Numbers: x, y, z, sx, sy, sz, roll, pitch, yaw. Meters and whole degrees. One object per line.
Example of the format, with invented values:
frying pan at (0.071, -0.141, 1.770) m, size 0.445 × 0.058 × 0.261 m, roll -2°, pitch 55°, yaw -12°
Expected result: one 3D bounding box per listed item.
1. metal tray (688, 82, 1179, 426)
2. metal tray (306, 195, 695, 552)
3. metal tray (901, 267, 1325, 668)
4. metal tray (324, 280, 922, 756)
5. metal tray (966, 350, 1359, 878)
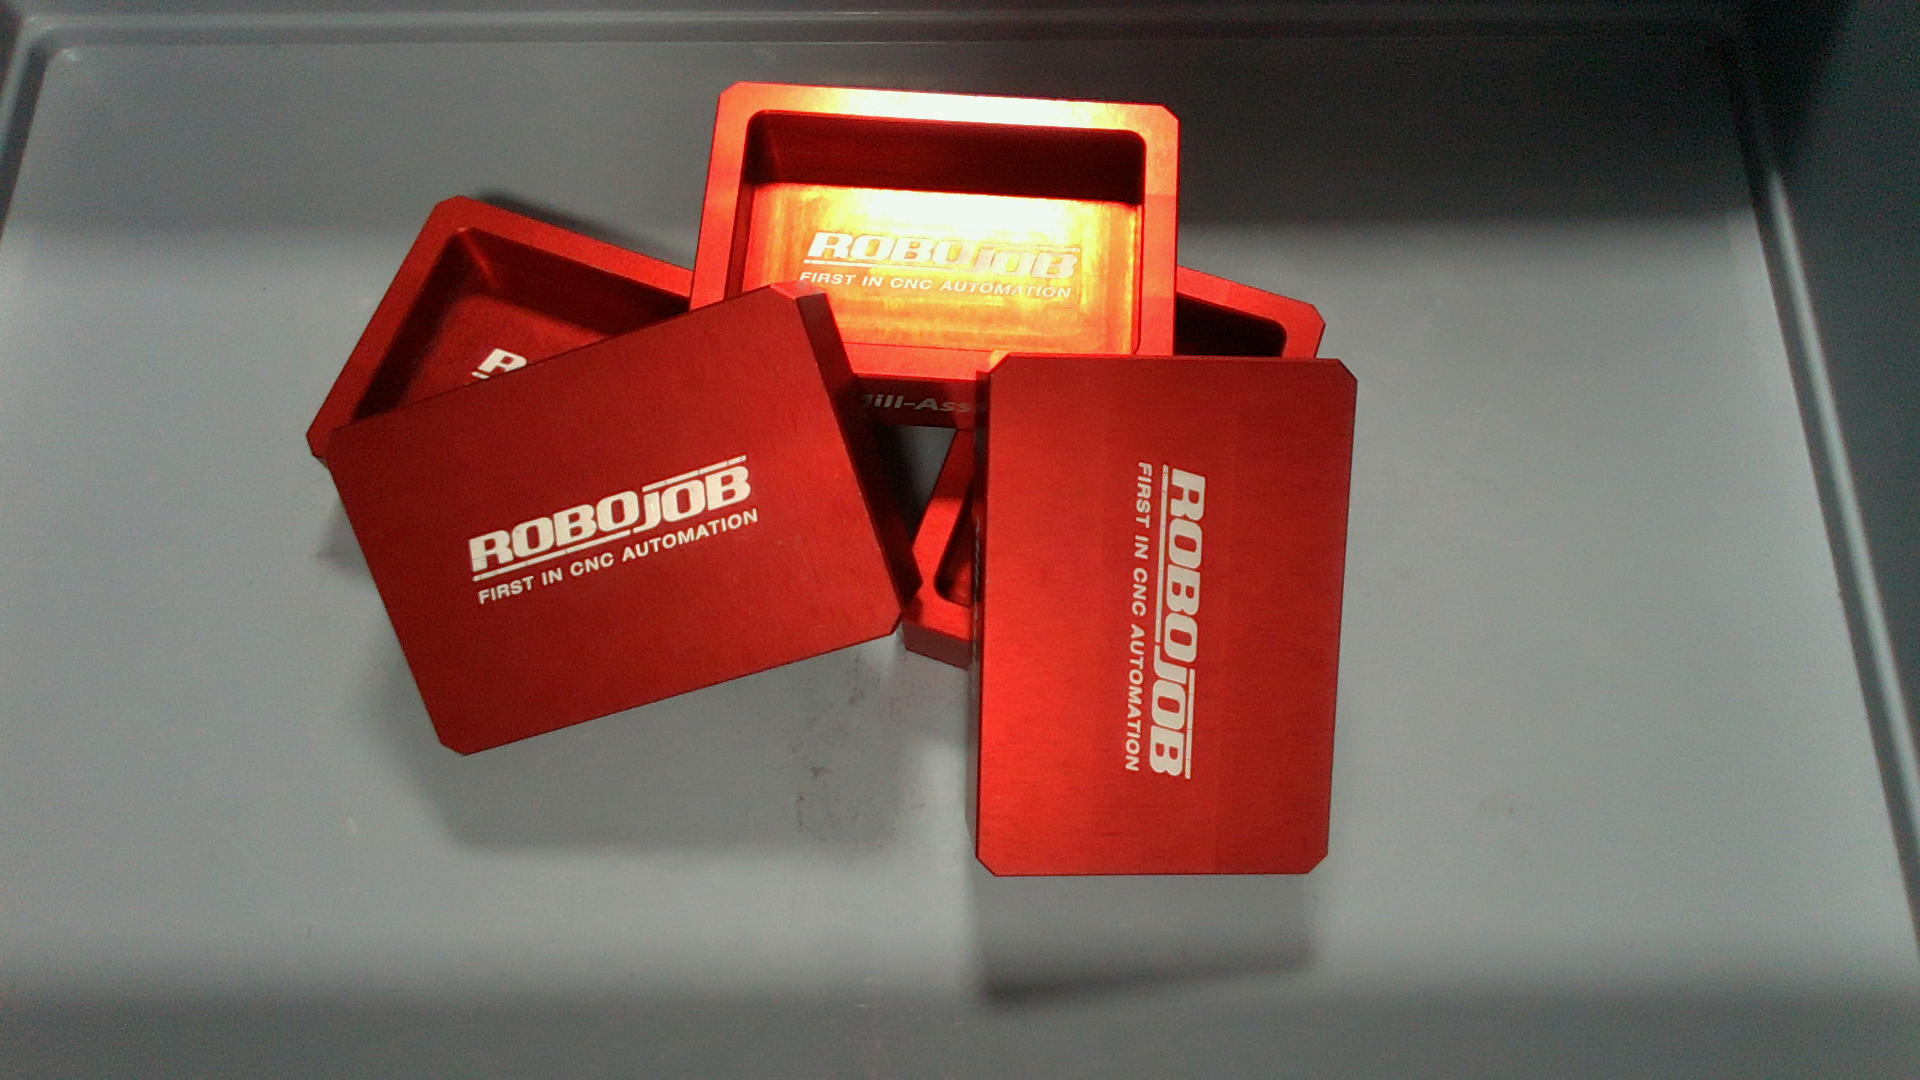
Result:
metal tray at (-0.006, -0.080, 0.387) m, size 0.130 × 0.030 × 0.090 m, roll 3°, pitch 70°, yaw 1°
metal tray at (-0.108, -0.040, 0.403) m, size 0.130 × 0.030 × 0.090 m, roll 19°, pitch 71°, yaw 7°
metal tray at (0.044, -0.019, 0.397) m, size 0.090 × 0.030 × 0.130 m, roll 18°, pitch 71°, yaw 6°
metal tray at (-0.085, -0.005, 0.356) m, size 0.130 × 0.030 × 0.090 m, roll -16°, pitch 100°, yaw 11°
metal tray at (0.049, 0.018, 0.350) m, size 0.090 × 0.030 × 0.130 m, roll 0°, pitch 98°, yaw -6°
